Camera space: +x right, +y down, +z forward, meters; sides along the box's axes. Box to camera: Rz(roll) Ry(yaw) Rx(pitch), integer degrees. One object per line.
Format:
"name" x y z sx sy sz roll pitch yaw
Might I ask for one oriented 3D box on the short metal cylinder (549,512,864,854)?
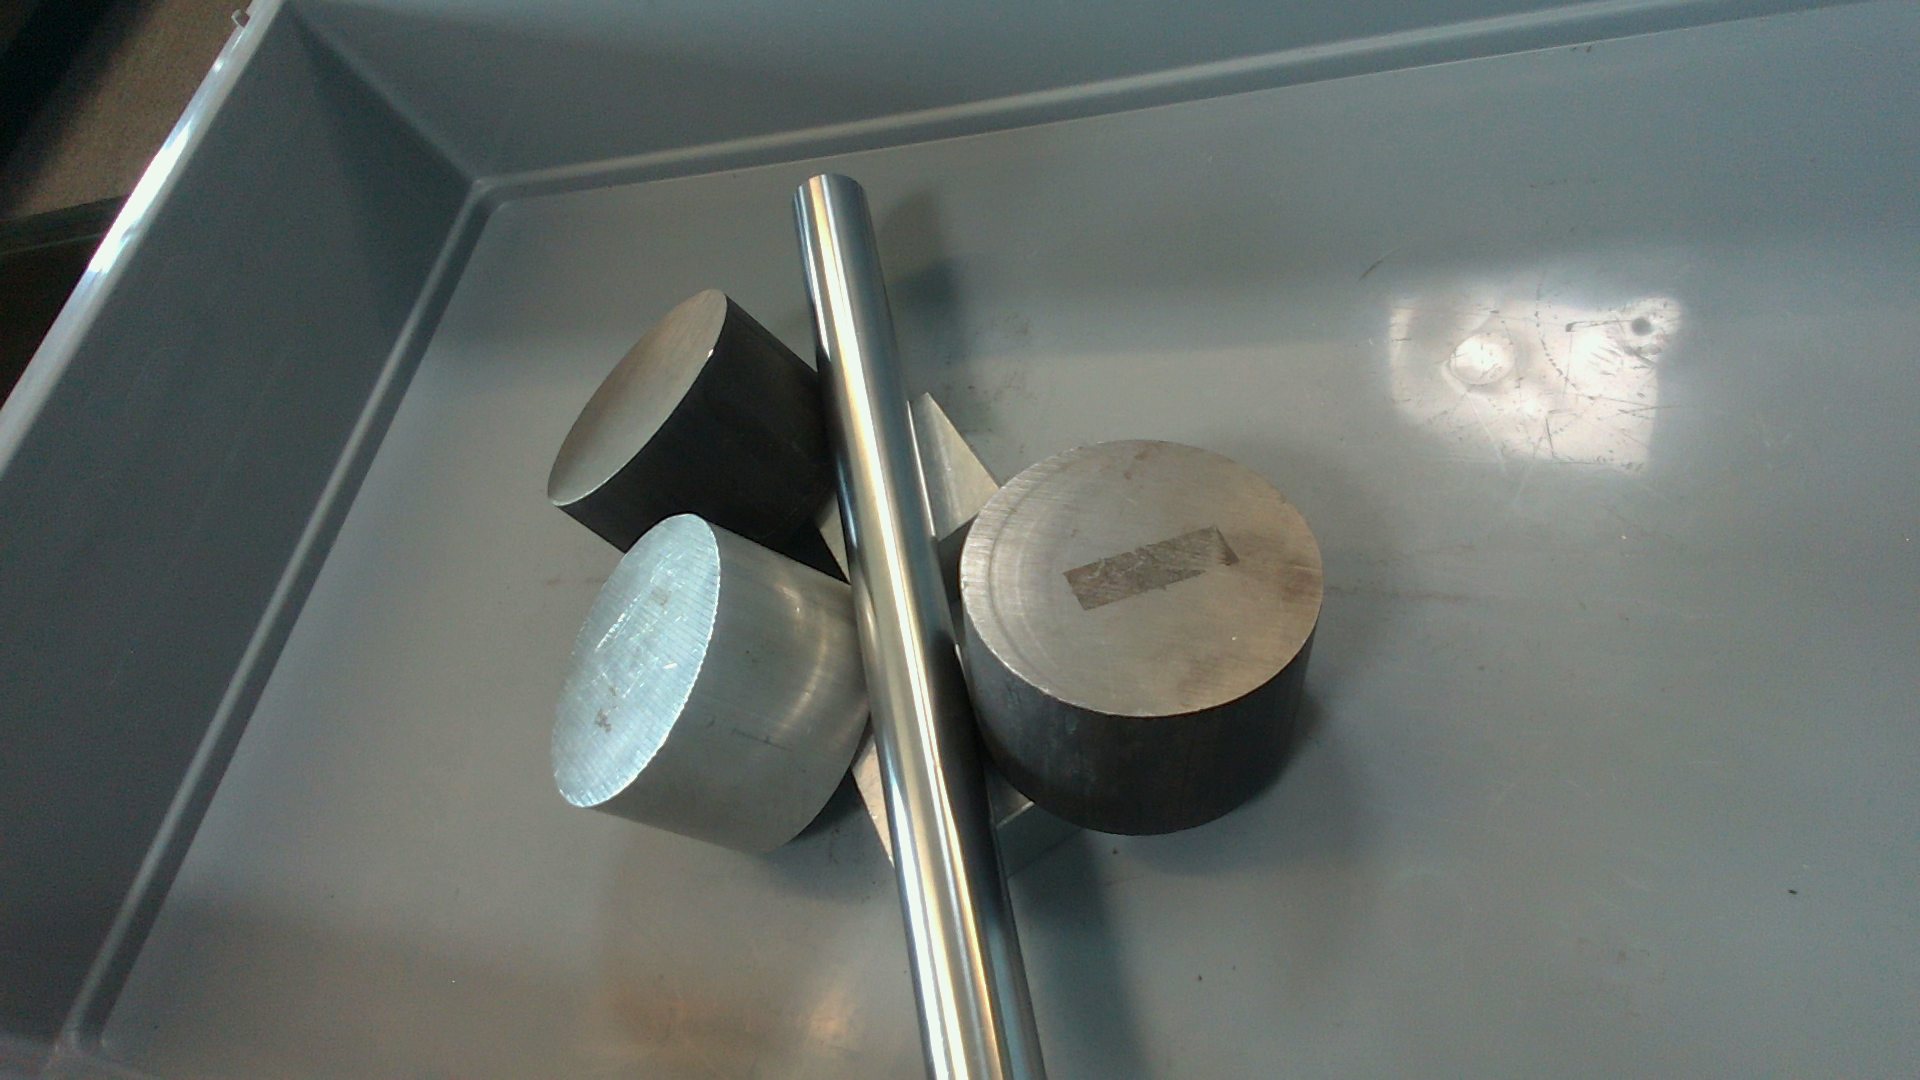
"short metal cylinder" -0.067 0.039 0.371 0.080 0.050 0.080 -32 45 38

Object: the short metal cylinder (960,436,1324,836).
"short metal cylinder" 0.041 0.022 0.324 0.080 0.050 0.080 -2 49 2

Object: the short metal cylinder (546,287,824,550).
"short metal cylinder" -0.080 -0.030 0.420 0.080 0.050 0.080 -34 33 26

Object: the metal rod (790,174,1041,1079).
"metal rod" -0.018 0.009 0.363 0.025 0.025 0.300 -23 53 15

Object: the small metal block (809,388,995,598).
"small metal block" -0.014 -0.008 0.405 0.050 0.025 0.050 -37 51 3

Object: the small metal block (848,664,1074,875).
"small metal block" 0.002 0.060 0.355 0.050 0.025 0.050 -35 51 5
